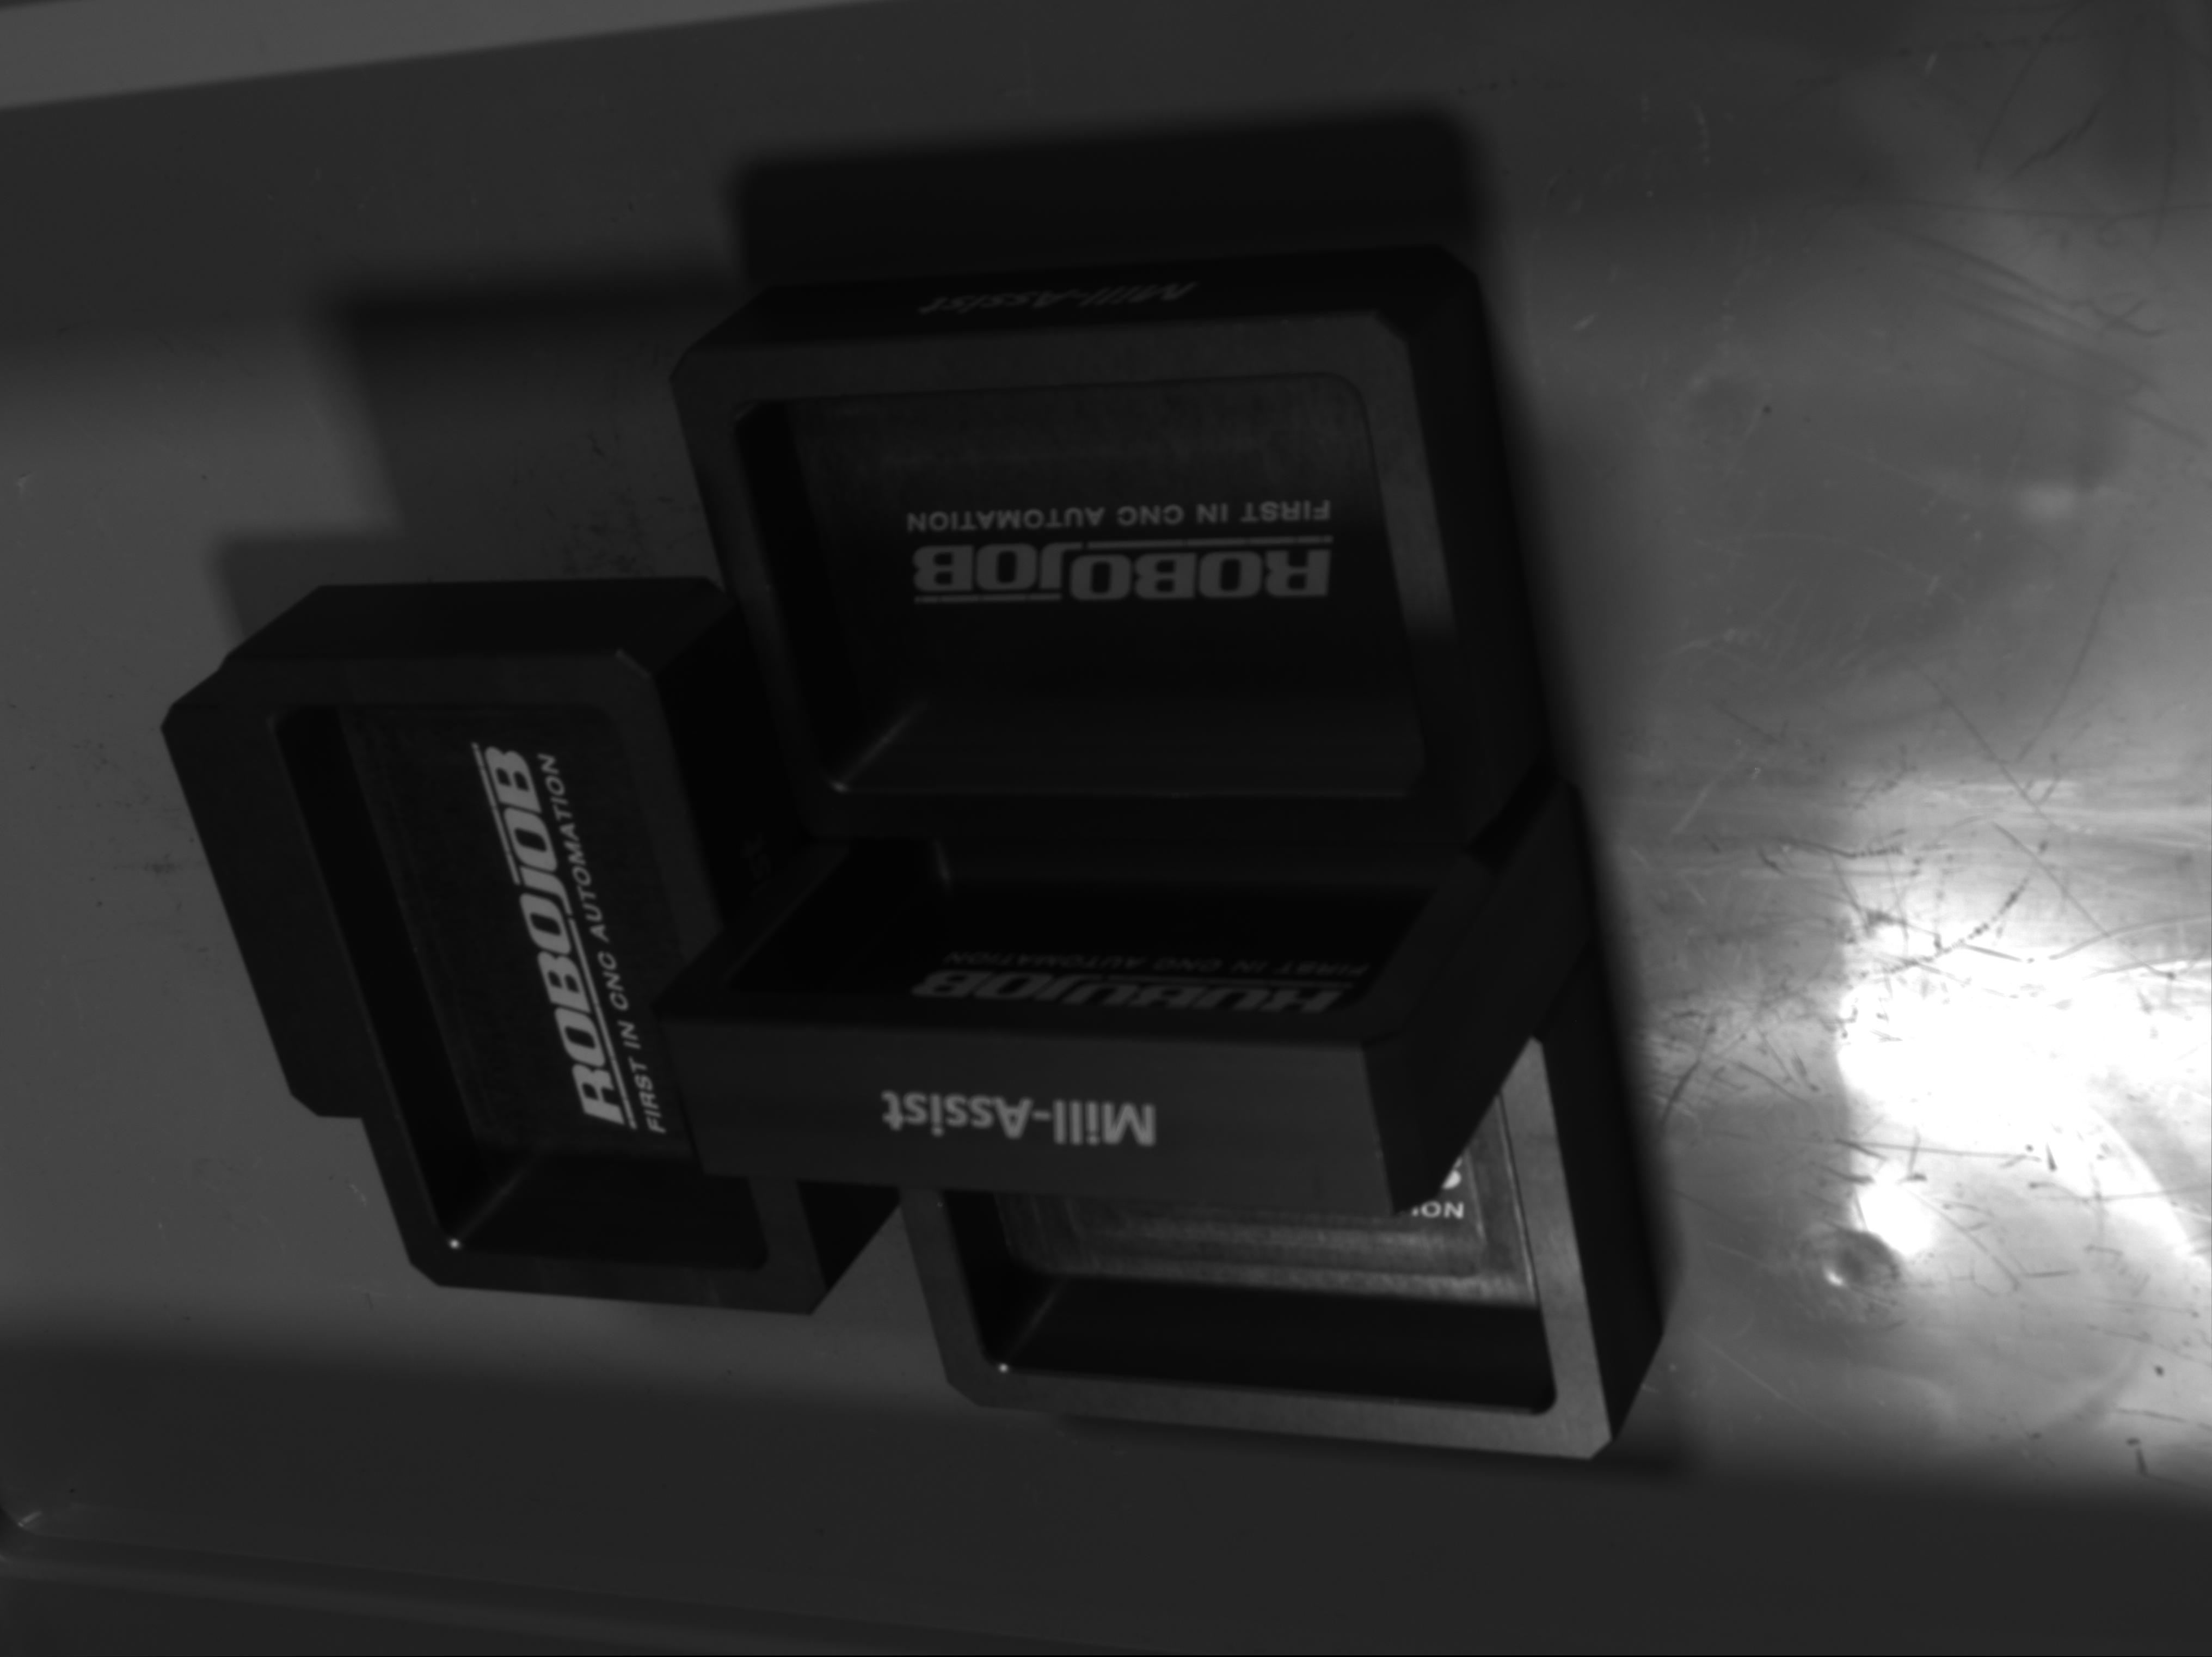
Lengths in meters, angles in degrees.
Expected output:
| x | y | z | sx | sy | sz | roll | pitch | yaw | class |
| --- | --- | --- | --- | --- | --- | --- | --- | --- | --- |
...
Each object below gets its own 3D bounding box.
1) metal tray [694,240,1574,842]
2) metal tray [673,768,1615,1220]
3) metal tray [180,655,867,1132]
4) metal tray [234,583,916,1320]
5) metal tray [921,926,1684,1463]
| x | y | z | sx | sy | sz | roll | pitch | yaw | class |
| --- | --- | --- | --- | --- | --- | --- | --- | --- | --- |
| 0.005 | -0.045 | 0.598 | 0.130 | 0.030 | 0.090 | 1 | 119 | 26 | metal tray |
| 0.007 | 0.023 | 0.598 | 0.130 | 0.090 | 0.030 | 1 | 118 | 26 | metal tray |
| -0.101 | 0.011 | 0.681 | 0.130 | 0.030 | 0.090 | 0 | 118 | 27 | metal tray |
| -0.092 | 0.022 | 0.647 | 0.090 | 0.030 | 0.130 | 1 | 119 | 26 | metal tray |
| 0.030 | 0.062 | 0.649 | 0.130 | 0.030 | 0.090 | 1 | 119 | 26 | metal tray |
